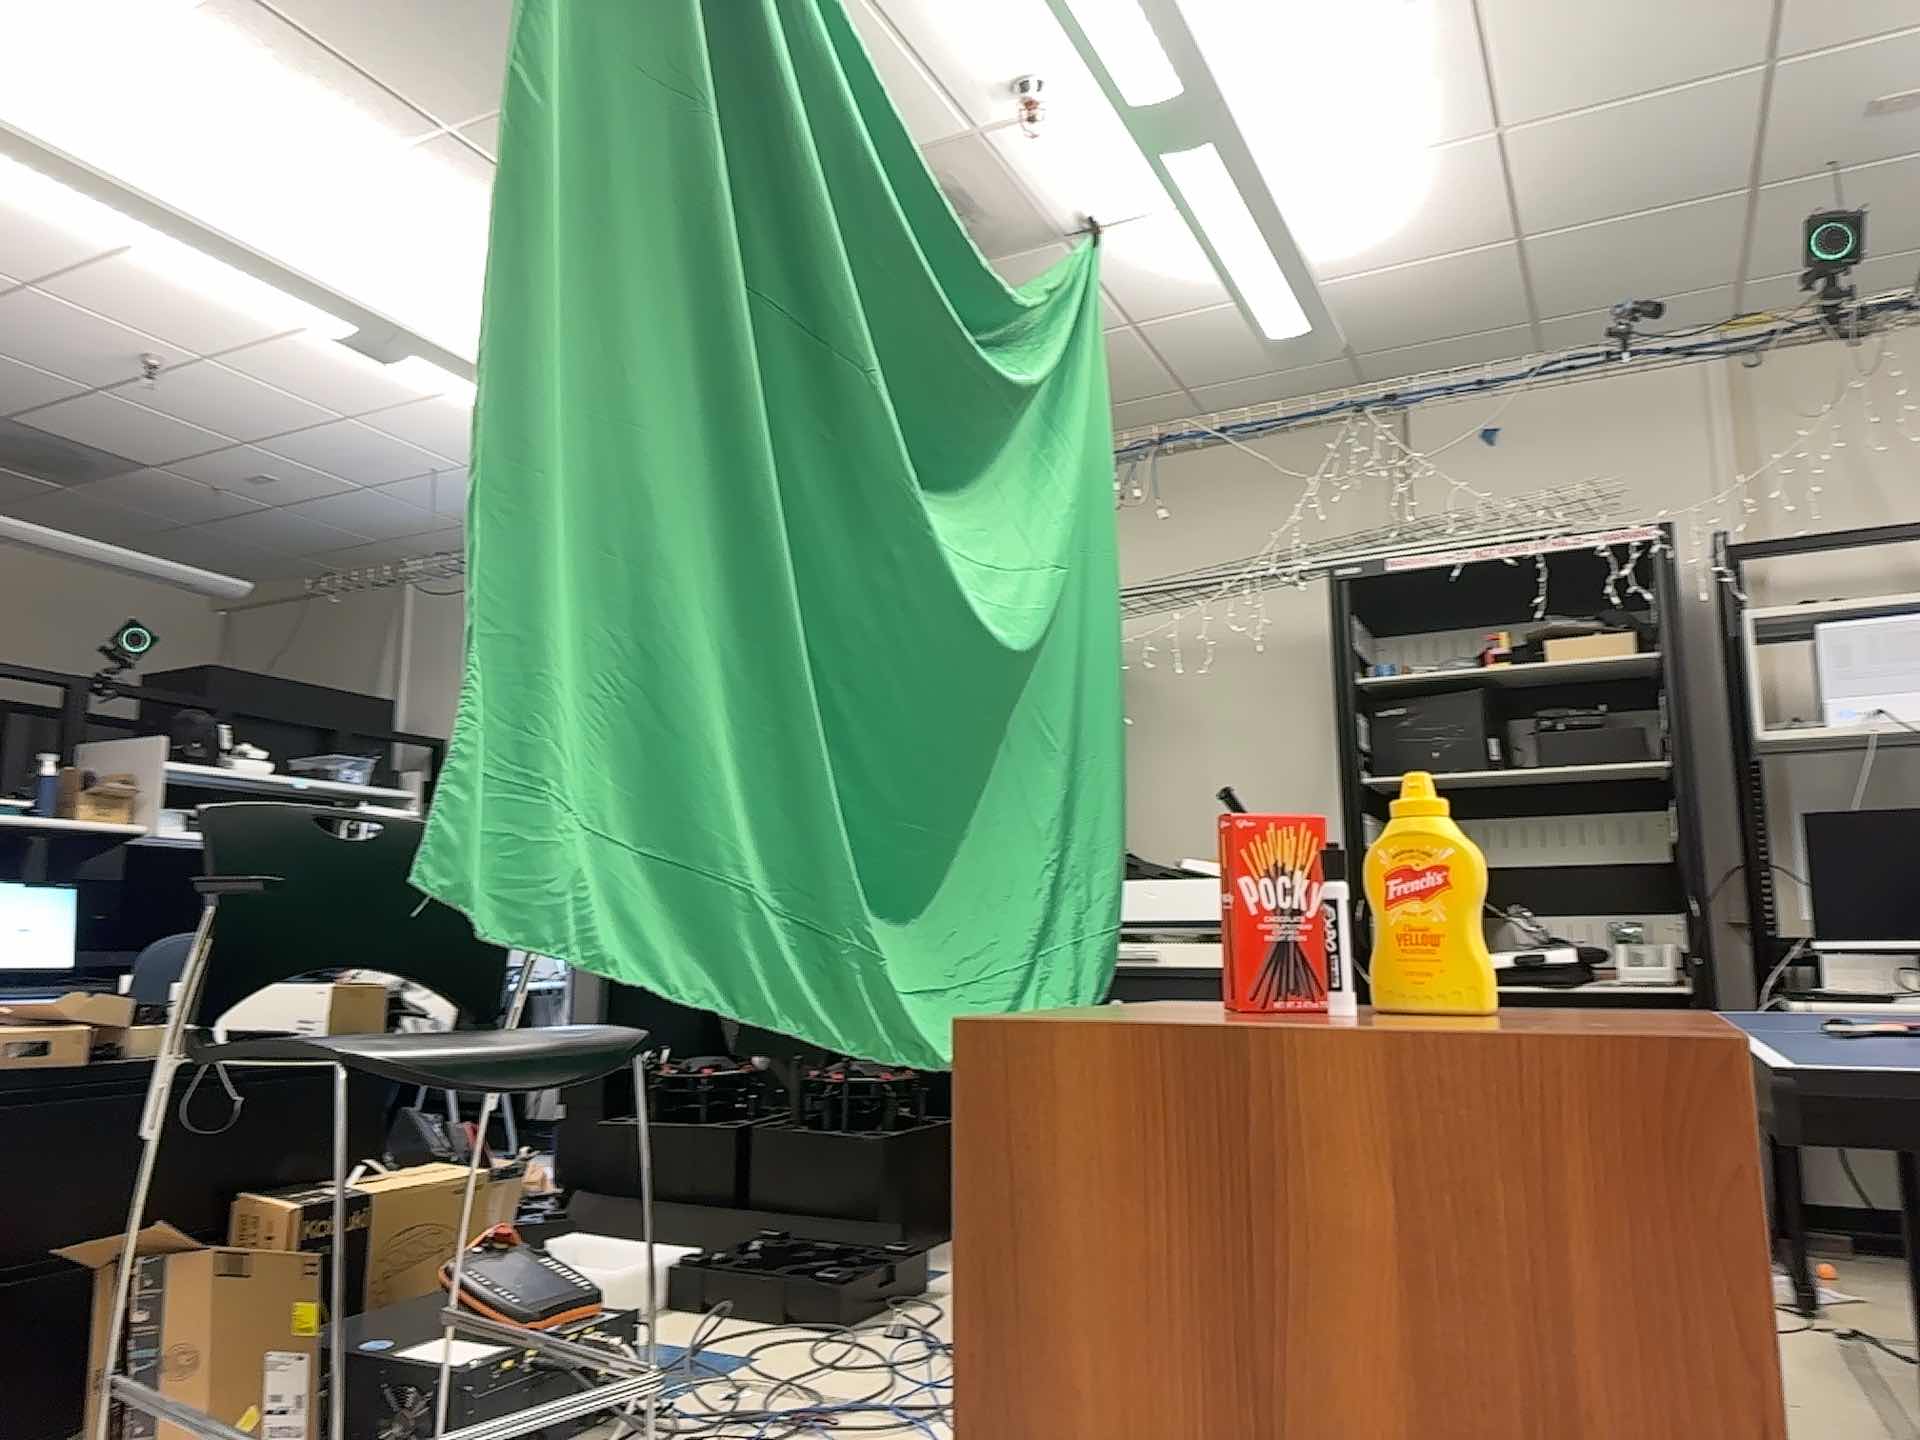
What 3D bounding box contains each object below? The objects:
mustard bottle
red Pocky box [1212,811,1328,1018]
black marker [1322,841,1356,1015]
[{"bbox_3d":[0.348,0.126,1.008,0.054,0.184,0.092,6,-11,-44],"label":"mustard bottle"},{"bbox_3d":[0.239,0.147,1.029,0.083,0.155,0.028,-1,-7,-10],"label":"red Pocky box"},{"bbox_3d":[0.269,0.147,0.956,0.020,0.121,0.020,1,-11,0],"label":"black marker"}]
